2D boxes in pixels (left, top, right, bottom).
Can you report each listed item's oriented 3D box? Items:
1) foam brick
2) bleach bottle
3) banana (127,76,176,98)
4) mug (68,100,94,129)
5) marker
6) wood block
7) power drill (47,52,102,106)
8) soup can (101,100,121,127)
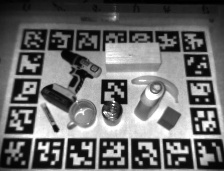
[{"bbox_3d":[0.198,0.123,0.762,0.052,0.078,0.051,32,71,14],"label":"foam brick"},{"bbox_3d":[0.119,0.048,0.694,0.067,0.251,0.103,28,71,11],"label":"bleach bottle"},{"bbox_3d":[0.157,-0.012,0.827,0.197,0.039,0.074,16,84,2],"label":"banana"},{"bbox_3d":[-0.113,0.108,0.757,0.093,0.082,0.117,43,78,12],"label":"mug"},{"bbox_3d":[-0.229,0.121,0.786,0.020,0.020,0.120,-28,74,-8],"label":"marker"},{"bbox_3d":[0.077,-0.104,0.835,0.206,0.091,0.089,0,71,-1],"label":"wood block"},{"bbox_3d":[-0.158,-0.023,0.823,0.184,0.057,0.187,29,71,6],"label":"power drill"},{"bbox_3d":[-0.005,0.099,0.746,0.068,0.102,0.067,1,66,-1],"label":"soup can"}]
